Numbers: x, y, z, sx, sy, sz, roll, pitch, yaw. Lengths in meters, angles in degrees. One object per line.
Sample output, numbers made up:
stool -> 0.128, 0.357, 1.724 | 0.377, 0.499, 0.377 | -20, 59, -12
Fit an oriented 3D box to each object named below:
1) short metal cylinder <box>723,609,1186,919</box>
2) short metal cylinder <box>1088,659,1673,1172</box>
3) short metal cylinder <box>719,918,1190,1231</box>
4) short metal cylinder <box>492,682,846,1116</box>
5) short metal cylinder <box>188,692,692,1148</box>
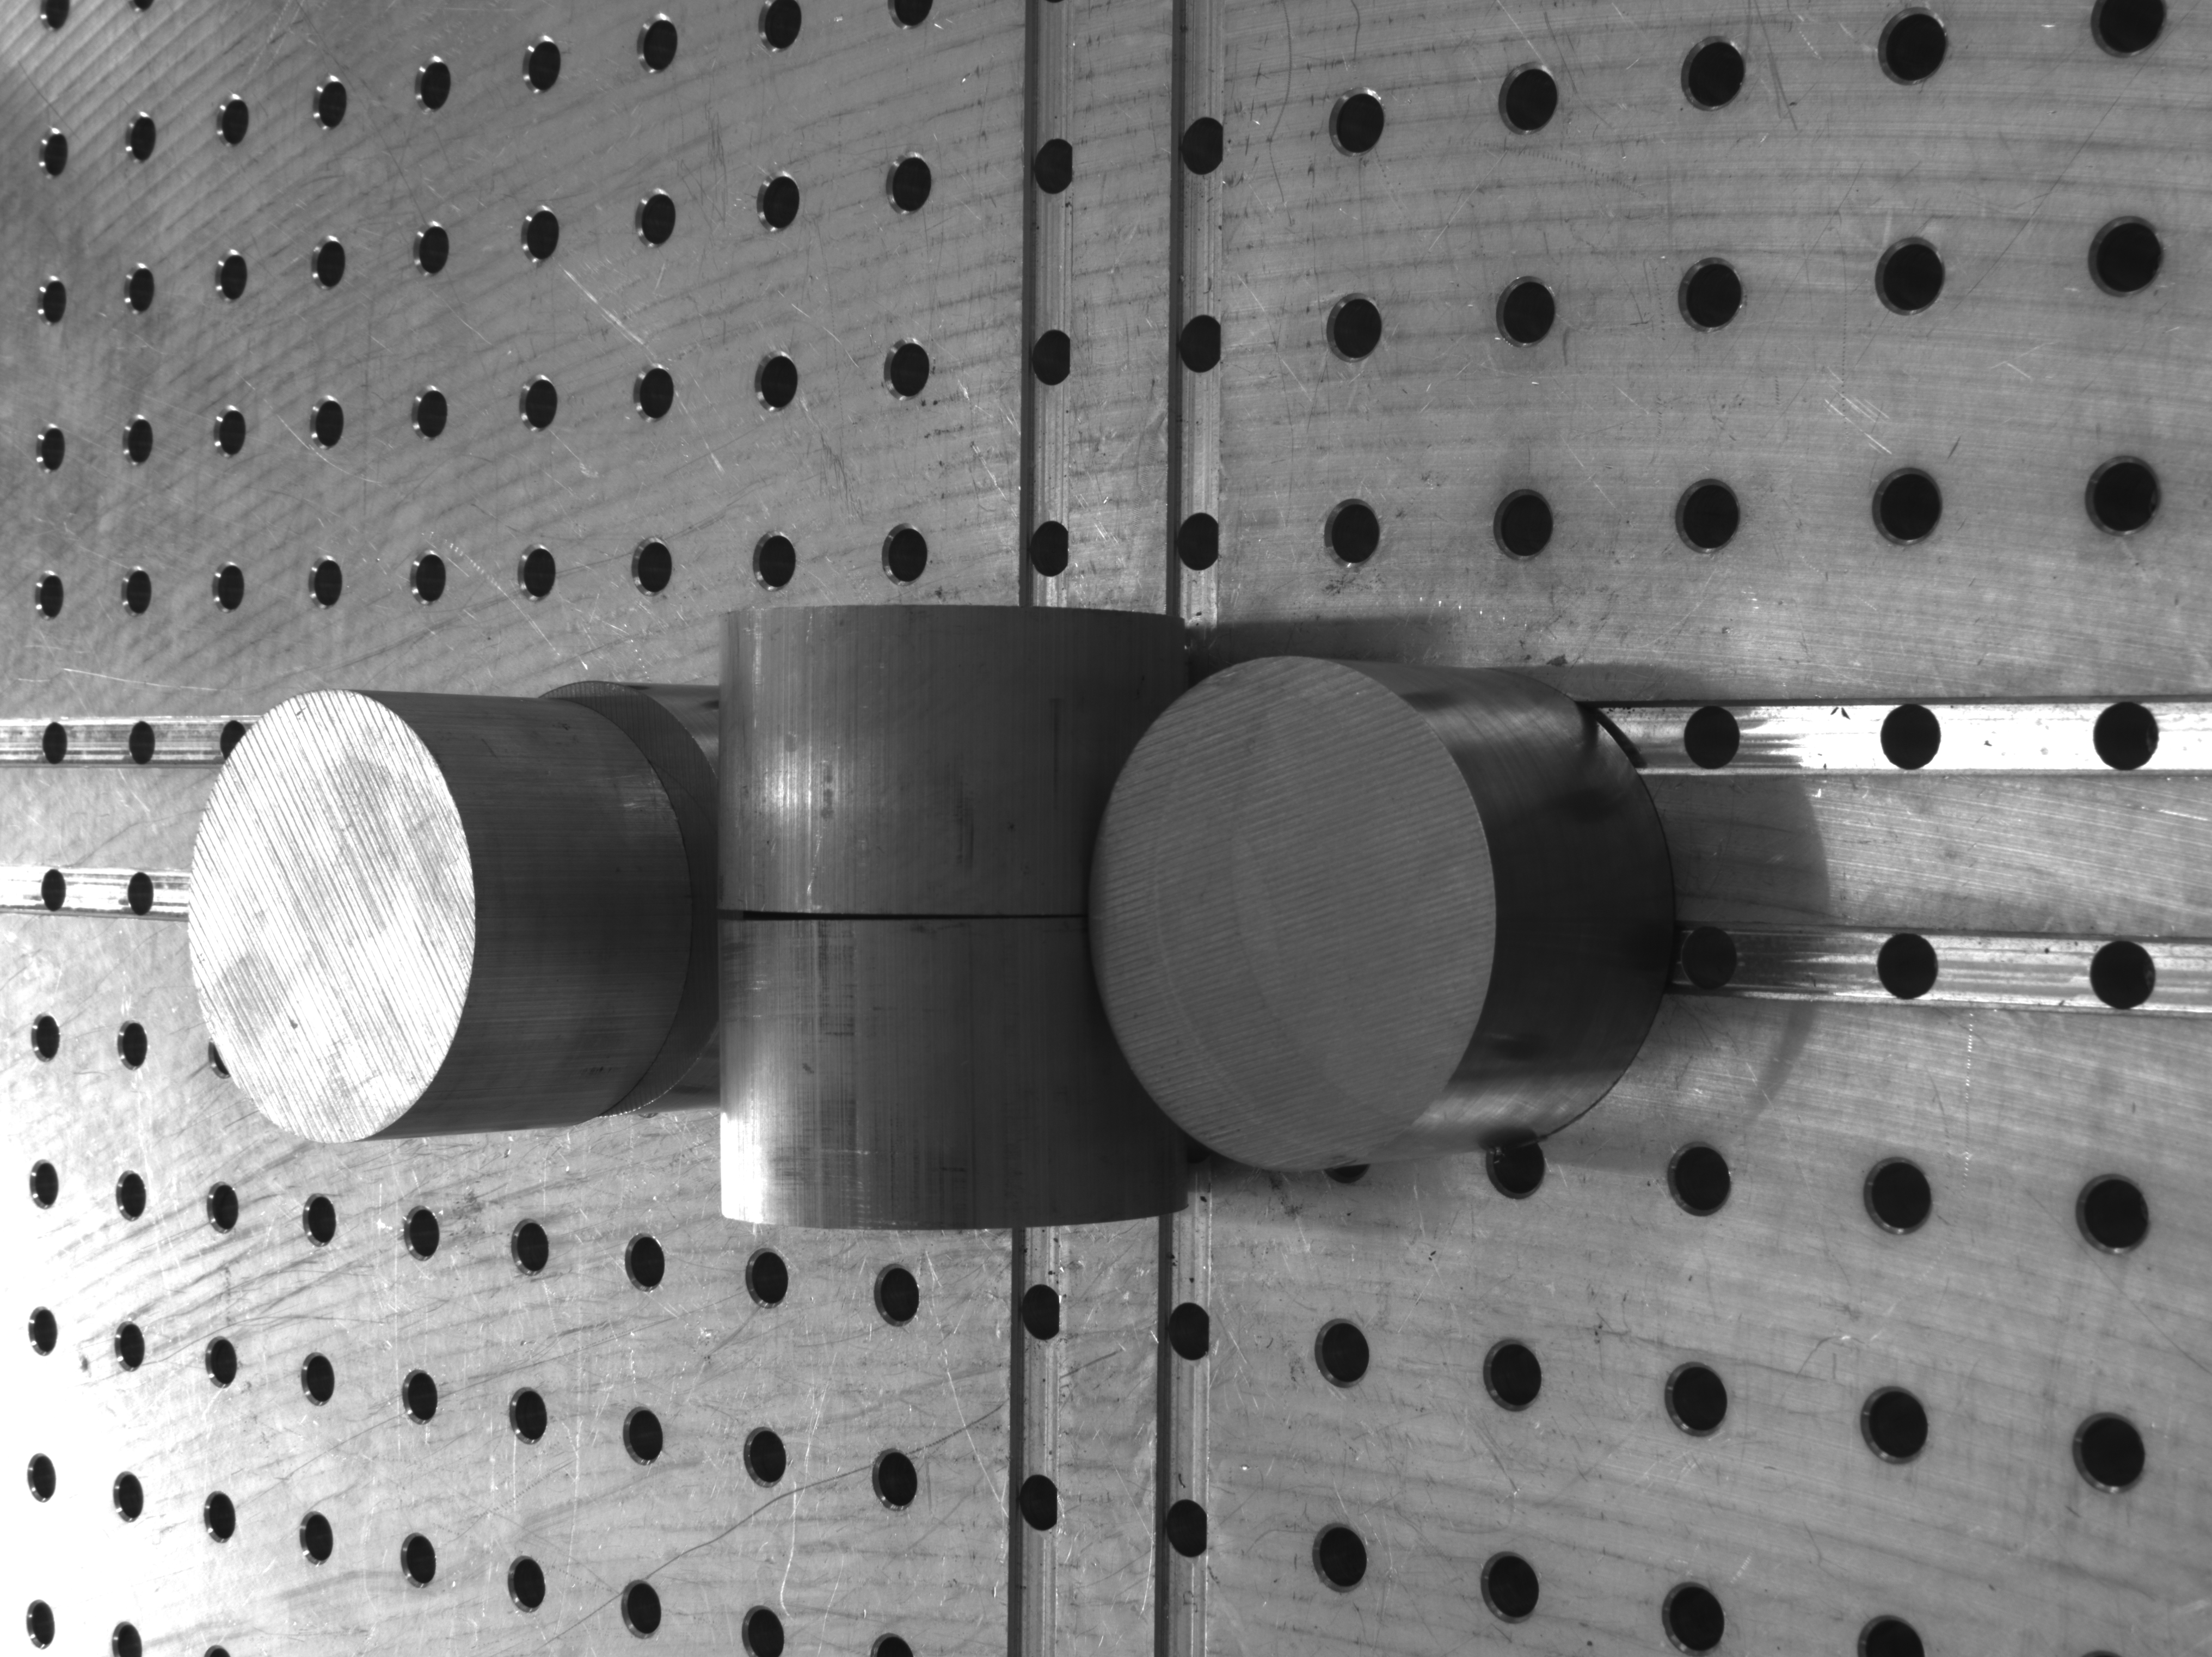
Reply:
short metal cylinder -> -0.026, -0.011, 0.635 | 0.080, 0.080, 0.050 | 1, 91, 40
short metal cylinder -> 0.044, 0.014, 0.594 | 0.080, 0.050, 0.080 | 0, 90, 40
short metal cylinder -> -0.026, 0.040, 0.634 | 0.080, 0.080, 0.050 | -2, 89, 40
short metal cylinder -> -0.078, 0.013, 0.697 | 0.080, 0.050, 0.080 | 0, 90, 40
short metal cylinder -> -0.121, 0.016, 0.666 | 0.080, 0.050, 0.080 | 0, 90, 40
